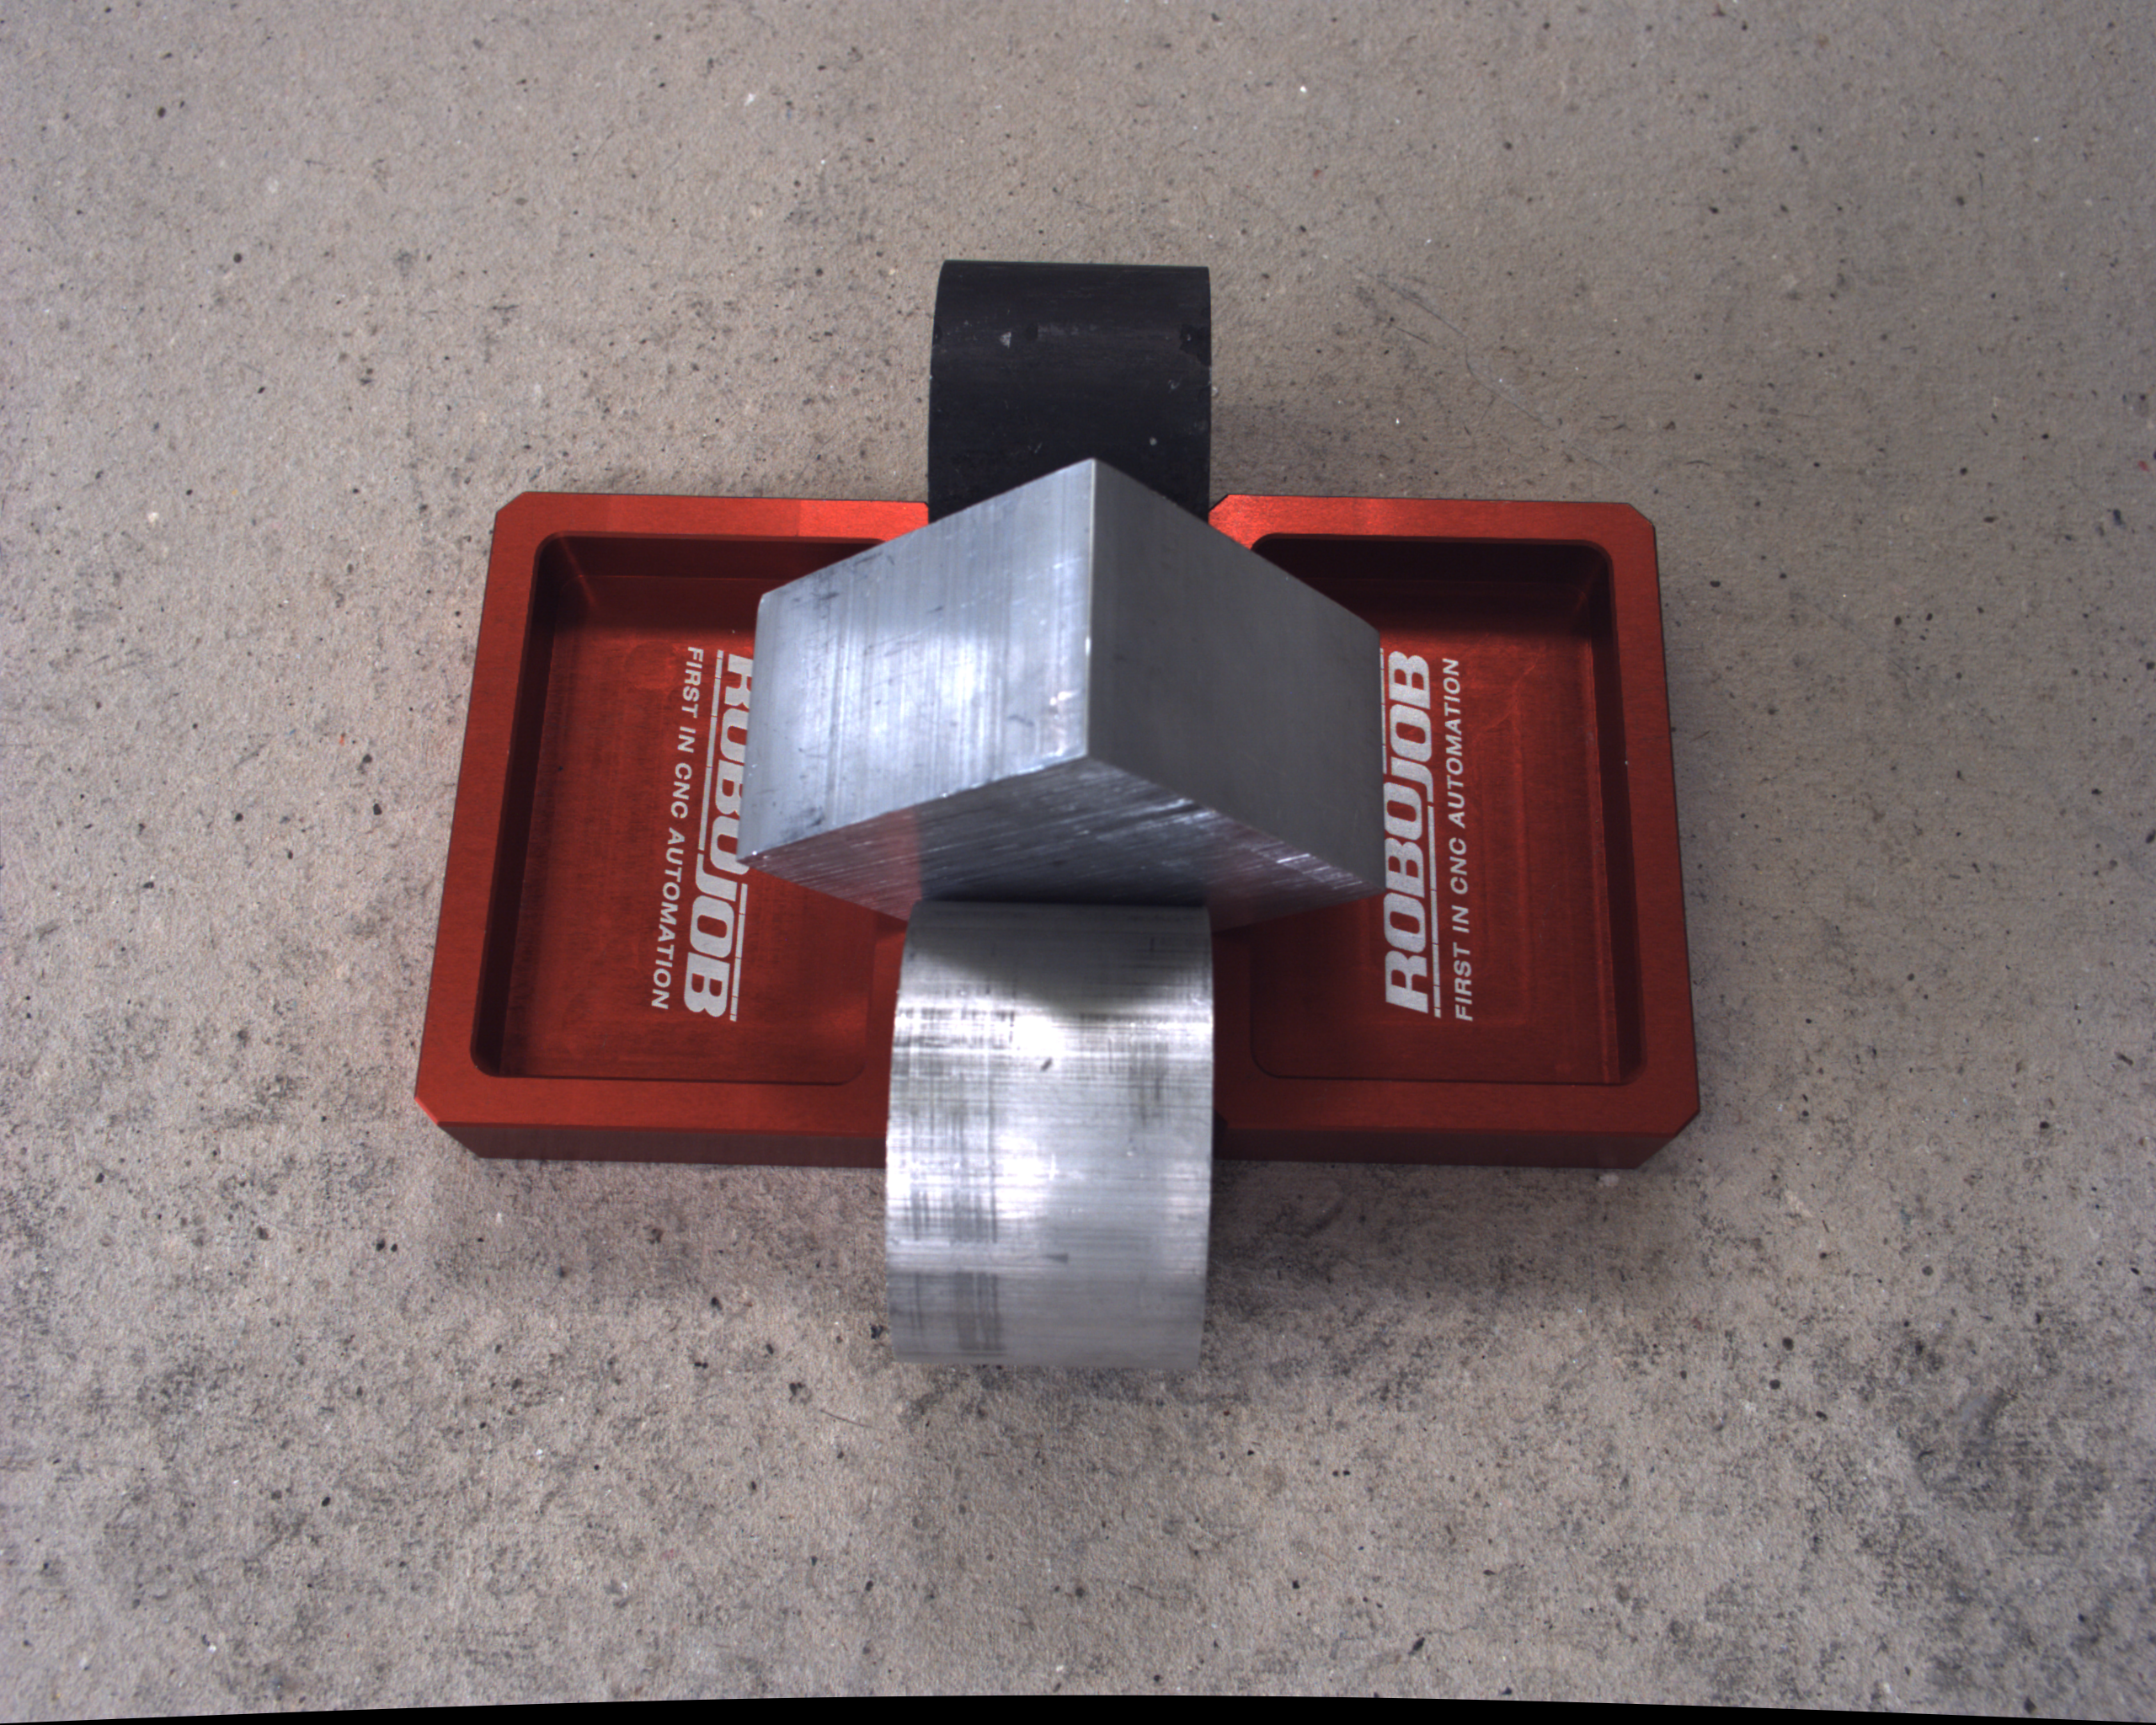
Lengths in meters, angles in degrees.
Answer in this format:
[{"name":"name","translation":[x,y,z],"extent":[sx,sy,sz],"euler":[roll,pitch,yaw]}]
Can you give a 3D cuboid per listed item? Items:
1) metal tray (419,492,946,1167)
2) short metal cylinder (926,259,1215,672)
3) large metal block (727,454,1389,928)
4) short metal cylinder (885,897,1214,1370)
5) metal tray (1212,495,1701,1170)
[{"name":"metal tray","translation":[-0.072,-0.008,0.409],"extent":[0.091,0.030,0.130],"euler":[2,70,0]},{"name":"short metal cylinder","translation":[-0.001,-0.076,0.408],"extent":[0.050,0.080,0.080],"euler":[2,70,1]},{"name":"large metal block","translation":[-0.002,-0.021,0.366],"extent":[0.080,0.080,0.050],"euler":[-14,65,38]},{"name":"short metal cylinder","translation":[-0.004,0.047,0.363],"extent":[0.050,0.080,0.080],"euler":[2,70,1]},{"name":"metal tray","translation":[0.069,-0.007,0.410],"extent":[0.091,0.030,0.130],"euler":[2,70,0]}]
